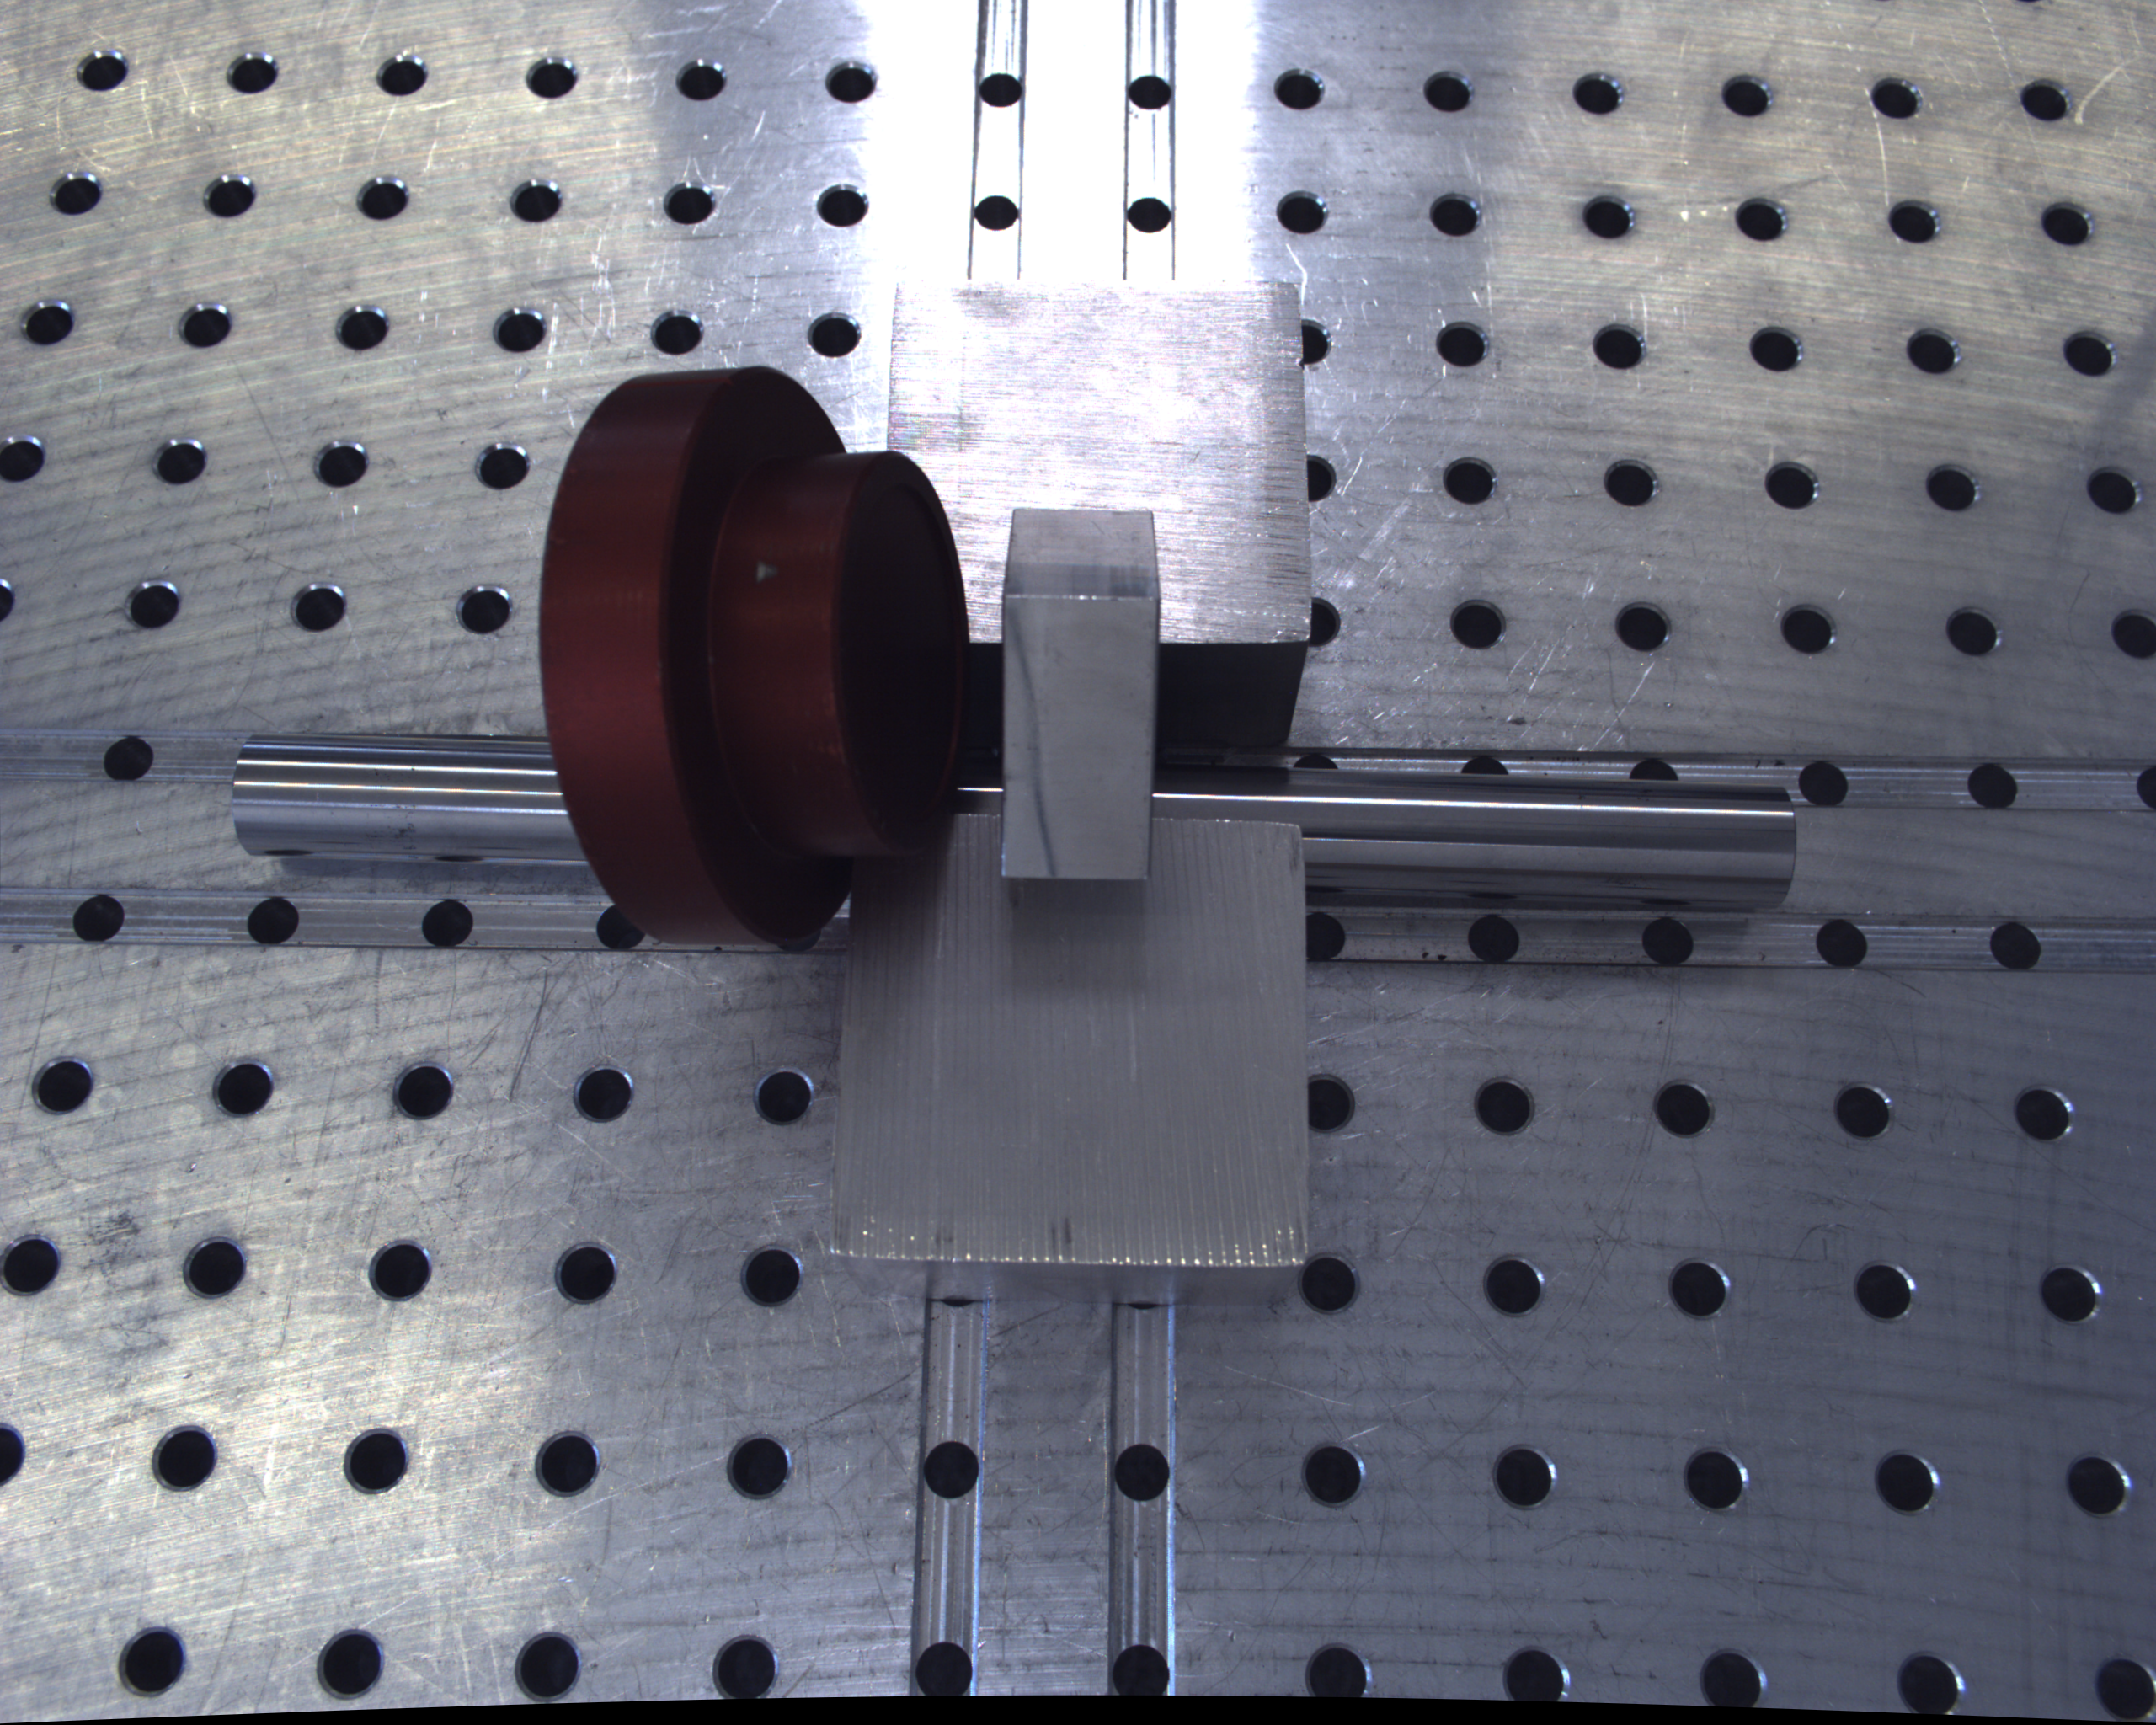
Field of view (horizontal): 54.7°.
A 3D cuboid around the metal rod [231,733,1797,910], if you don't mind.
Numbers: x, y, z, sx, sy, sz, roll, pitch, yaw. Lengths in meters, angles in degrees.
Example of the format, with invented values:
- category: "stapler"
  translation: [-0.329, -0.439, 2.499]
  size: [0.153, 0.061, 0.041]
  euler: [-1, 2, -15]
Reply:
- category: "metal rod"
  translation: [-0.012, -0.008, 0.414]
  size: [0.302, 0.025, 0.025]
  euler: [2, 70, 0]

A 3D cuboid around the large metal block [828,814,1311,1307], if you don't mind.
- category: "large metal block"
  translation: [0.000, 0.037, 0.385]
  size: [0.081, 0.050, 0.080]
  euler: [1, 70, 0]

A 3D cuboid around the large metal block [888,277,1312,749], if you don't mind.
- category: "large metal block"
  translation: [0.004, -0.070, 0.424]
  size: [0.081, 0.050, 0.080]
  euler: [1, 70, 0]

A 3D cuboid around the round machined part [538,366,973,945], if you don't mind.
- category: "round machined part"
  translation: [-0.048, -0.035, 0.355]
  size: [0.042, 0.098, 0.098]
  euler: [-1, 69, 15]

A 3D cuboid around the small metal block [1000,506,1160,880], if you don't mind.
- category: "small metal block"
  translation: [0.000, -0.031, 0.363]
  size: [0.025, 0.050, 0.050]
  euler: [1, 26, 0]
